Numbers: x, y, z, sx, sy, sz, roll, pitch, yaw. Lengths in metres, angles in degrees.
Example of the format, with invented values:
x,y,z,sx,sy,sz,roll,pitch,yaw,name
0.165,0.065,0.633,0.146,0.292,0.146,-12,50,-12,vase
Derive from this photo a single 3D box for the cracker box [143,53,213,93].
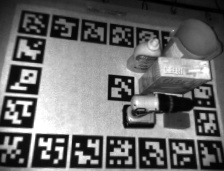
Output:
x,y,z,sx,sy,sz,roll,pitch,yaw,name
0.211,-0.027,0.730,0.165,0.213,0.072,1,70,-8,cracker box

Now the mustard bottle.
x,y,z,sx,sy,sz,roll,pitch,yaw,name
0.127,-0.127,0.750,0.096,0.191,0.058,16,71,-5,mustard bottle

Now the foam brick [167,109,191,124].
x,y,z,sx,sy,sz,roll,pitch,yaw,name
0.243,0.111,0.786,0.078,0.051,0.052,6,73,-10,foam brick

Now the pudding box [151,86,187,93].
x,y,z,sx,sy,sz,roll,pitch,yaw,name
0.194,0.036,0.764,0.114,0.090,0.038,4,70,-7,pudding box

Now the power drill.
x,y,z,sx,sy,sz,roll,pitch,yaw,name
0.143,0.069,0.669,0.185,0.187,0.057,3,68,-11,power drill

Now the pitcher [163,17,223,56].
x,y,z,sx,sy,sz,roll,pitch,yaw,name
0.260,-0.122,0.765,0.189,0.242,0.133,9,71,-6,pitcher
